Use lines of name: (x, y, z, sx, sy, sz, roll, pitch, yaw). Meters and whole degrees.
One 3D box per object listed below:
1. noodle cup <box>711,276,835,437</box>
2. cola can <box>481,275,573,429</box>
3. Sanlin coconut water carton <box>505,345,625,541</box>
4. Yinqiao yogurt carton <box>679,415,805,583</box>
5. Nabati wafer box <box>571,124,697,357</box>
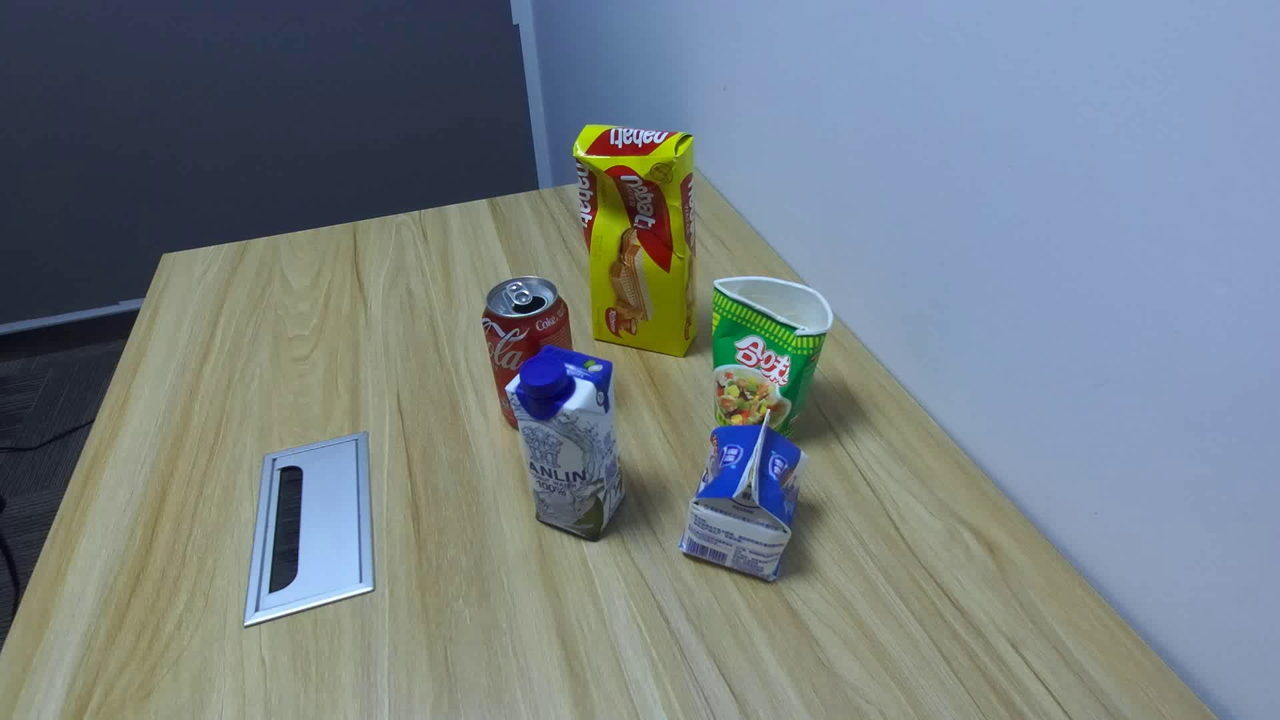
noodle cup: (0.098, 0.004, 0.552, 0.075, 0.122, 0.082, -2, 30, -13)
cola can: (-0.087, -0.006, 0.569, 0.068, 0.120, 0.067, -1, 42, 1)
Sanlin coconut water carton: (-0.047, 0.053, 0.476, 0.060, 0.144, 0.061, 14, 41, 22)
Yinqiao yogurt carton: (0.071, 0.084, 0.468, 0.071, 0.094, 0.077, 14, 43, 13)
Nabati wafer box: (-0.004, -0.100, 0.611, 0.106, 0.205, 0.042, 13, 42, 18)
